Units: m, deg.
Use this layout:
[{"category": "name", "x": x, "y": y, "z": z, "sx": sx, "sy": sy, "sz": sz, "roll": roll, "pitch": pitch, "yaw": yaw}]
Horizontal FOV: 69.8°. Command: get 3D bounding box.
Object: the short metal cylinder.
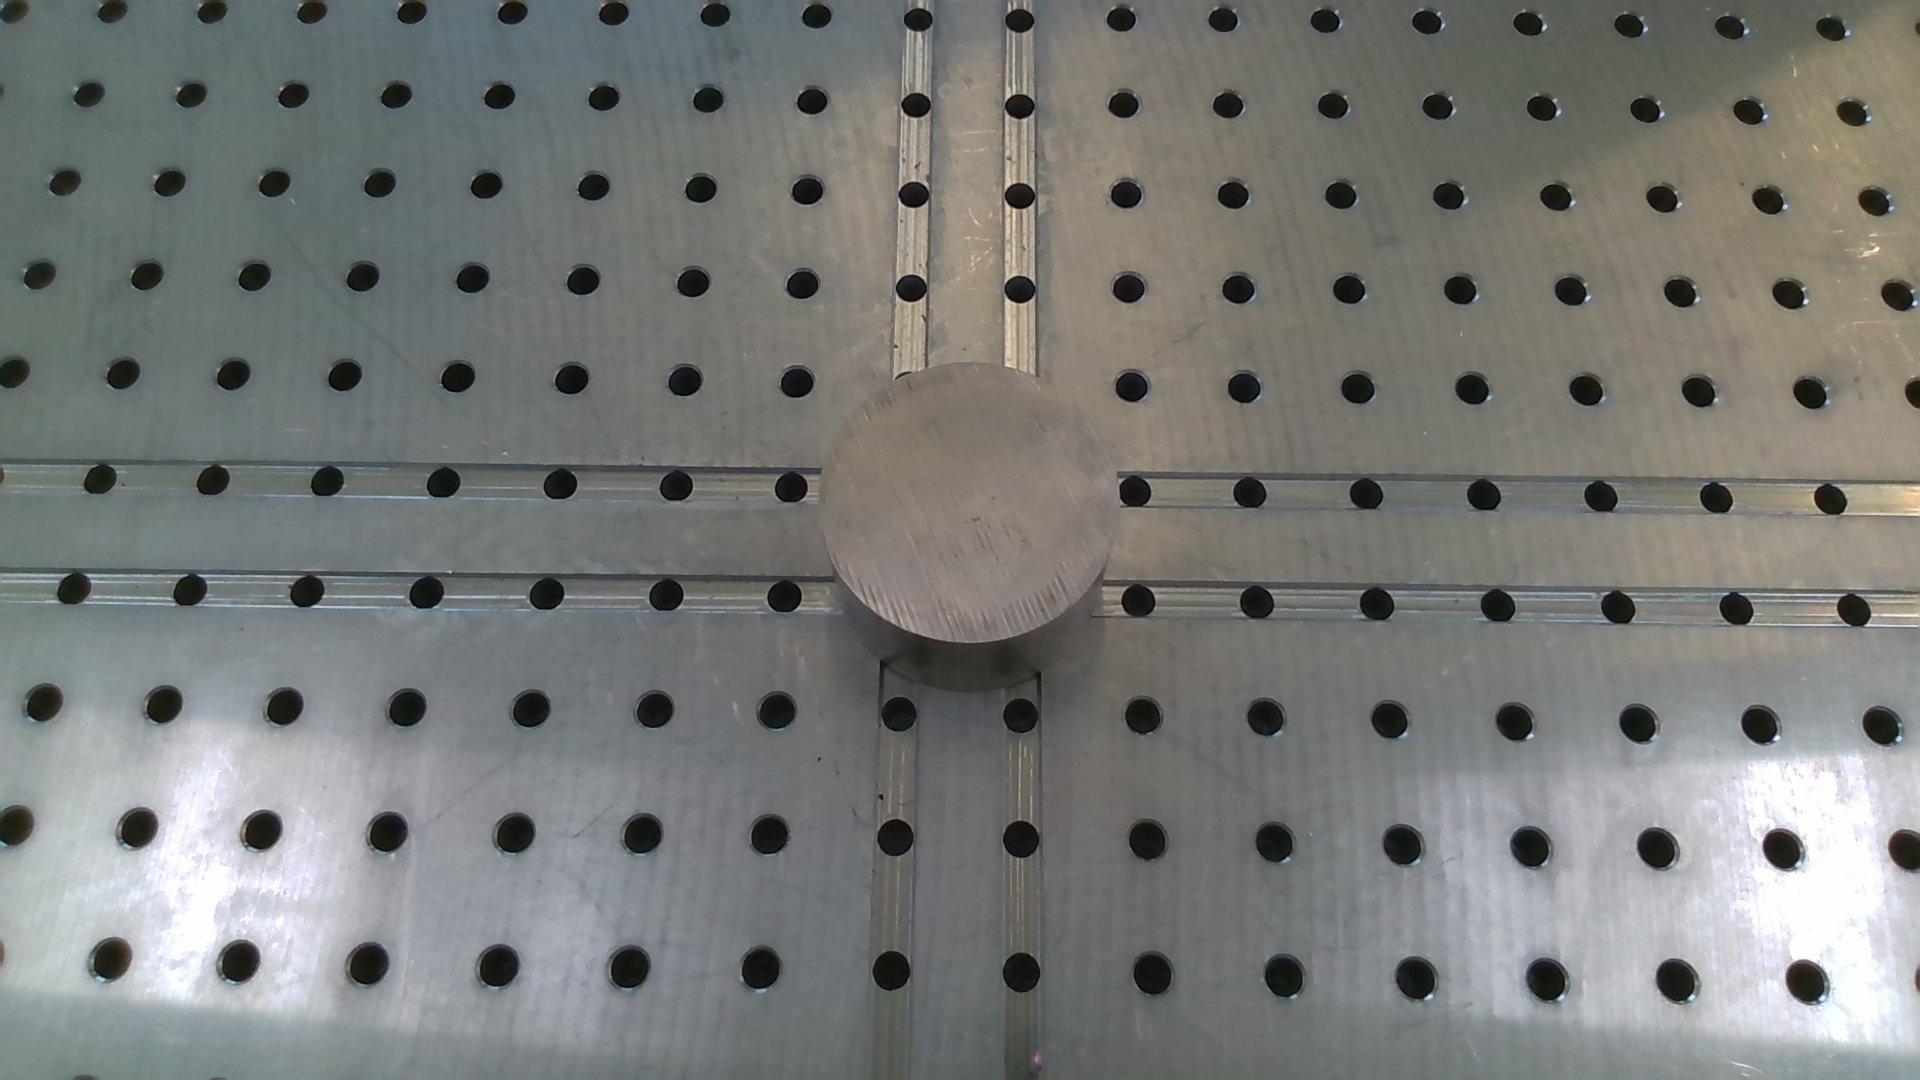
[{"category": "short metal cylinder", "x": 0.002, "y": -0.003, "z": 0.386, "sx": 0.080, "sy": 0.050, "sz": 0.080, "roll": 0, "pitch": 70, "yaw": 0}]
